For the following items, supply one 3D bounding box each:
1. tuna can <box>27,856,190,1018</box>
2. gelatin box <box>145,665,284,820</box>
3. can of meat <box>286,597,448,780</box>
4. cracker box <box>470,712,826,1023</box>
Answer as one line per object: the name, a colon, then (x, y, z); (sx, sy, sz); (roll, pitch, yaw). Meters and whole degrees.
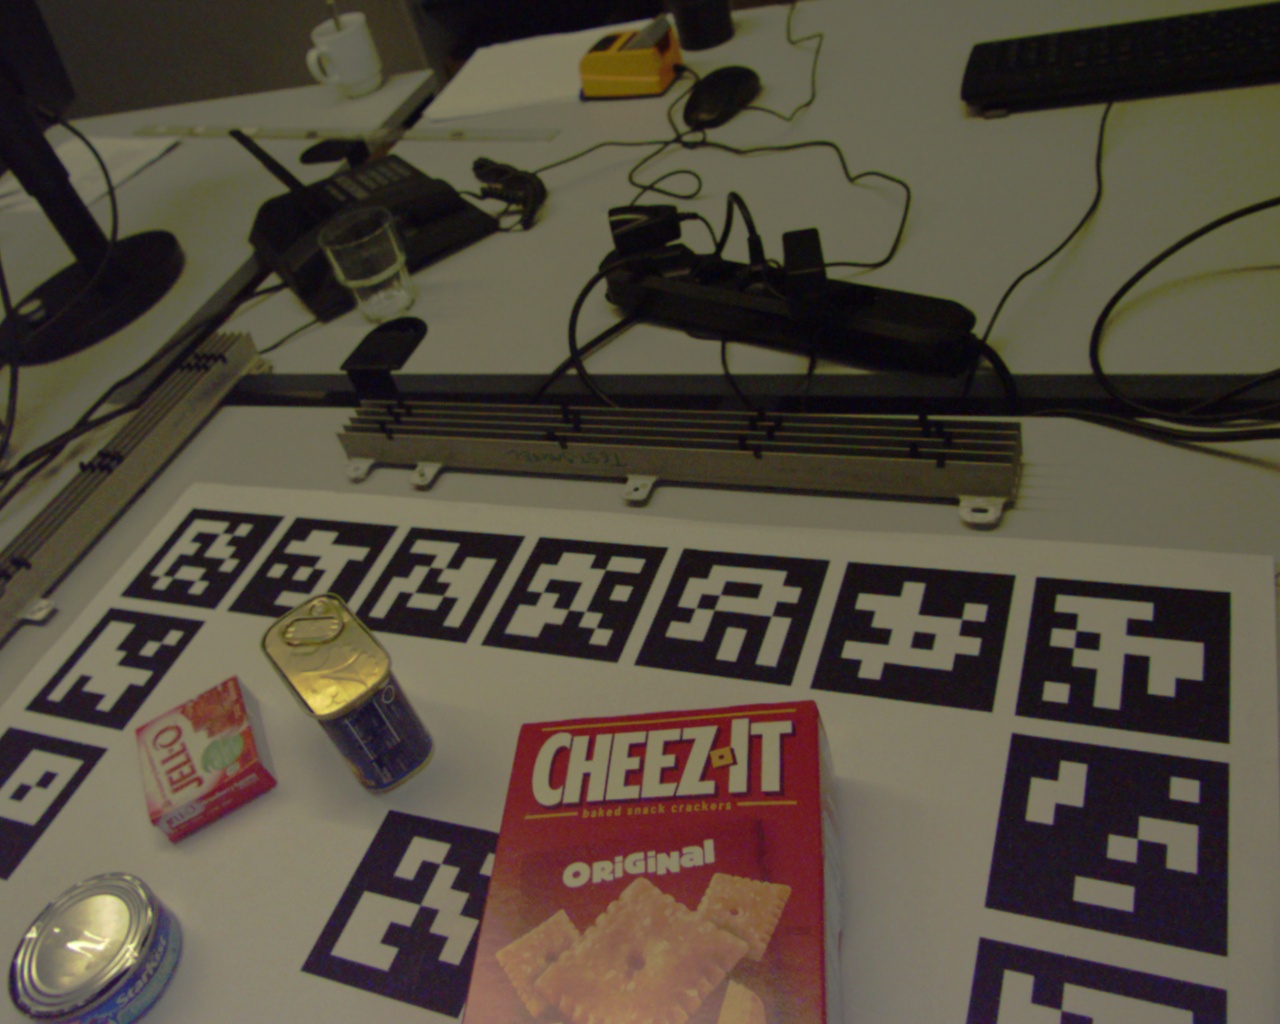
tuna can: (-0.312, 0.250, 0.672); (0.086, 0.033, 0.086); (-12, 42, 10)
gelatin box: (-0.293, 0.156, 0.783); (0.073, 0.030, 0.090); (-26, 42, -15)
can of meat: (-0.179, 0.118, 0.754); (0.057, 0.083, 0.103); (-35, 41, -22)
cracker box: (0.008, 0.207, 0.585); (0.165, 0.071, 0.214); (-7, 39, 11)
